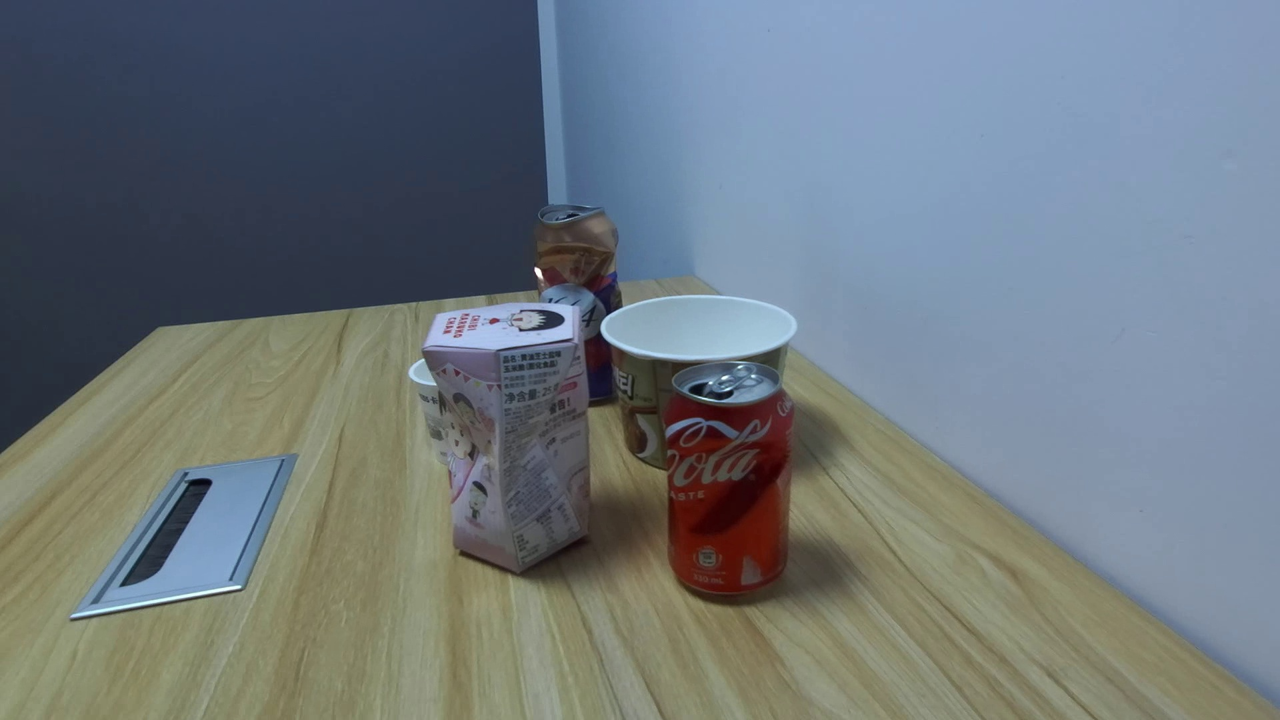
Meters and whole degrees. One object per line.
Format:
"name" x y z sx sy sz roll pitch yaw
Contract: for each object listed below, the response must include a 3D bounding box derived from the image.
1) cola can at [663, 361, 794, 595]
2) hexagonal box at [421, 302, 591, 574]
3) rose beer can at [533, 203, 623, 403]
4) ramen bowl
"cola can" 0.046 0.060 0.369 0.066 0.117 0.066 2 22 12
"hexagonal box" -0.073 0.040 0.412 0.093 0.134 0.088 -19 27 -36
"rose beer can" -0.049 -0.045 0.589 0.074 0.162 0.068 -4 19 -1
"ramen bowl" 0.041 0.016 0.512 0.140 0.095 0.140 -1 22 1
